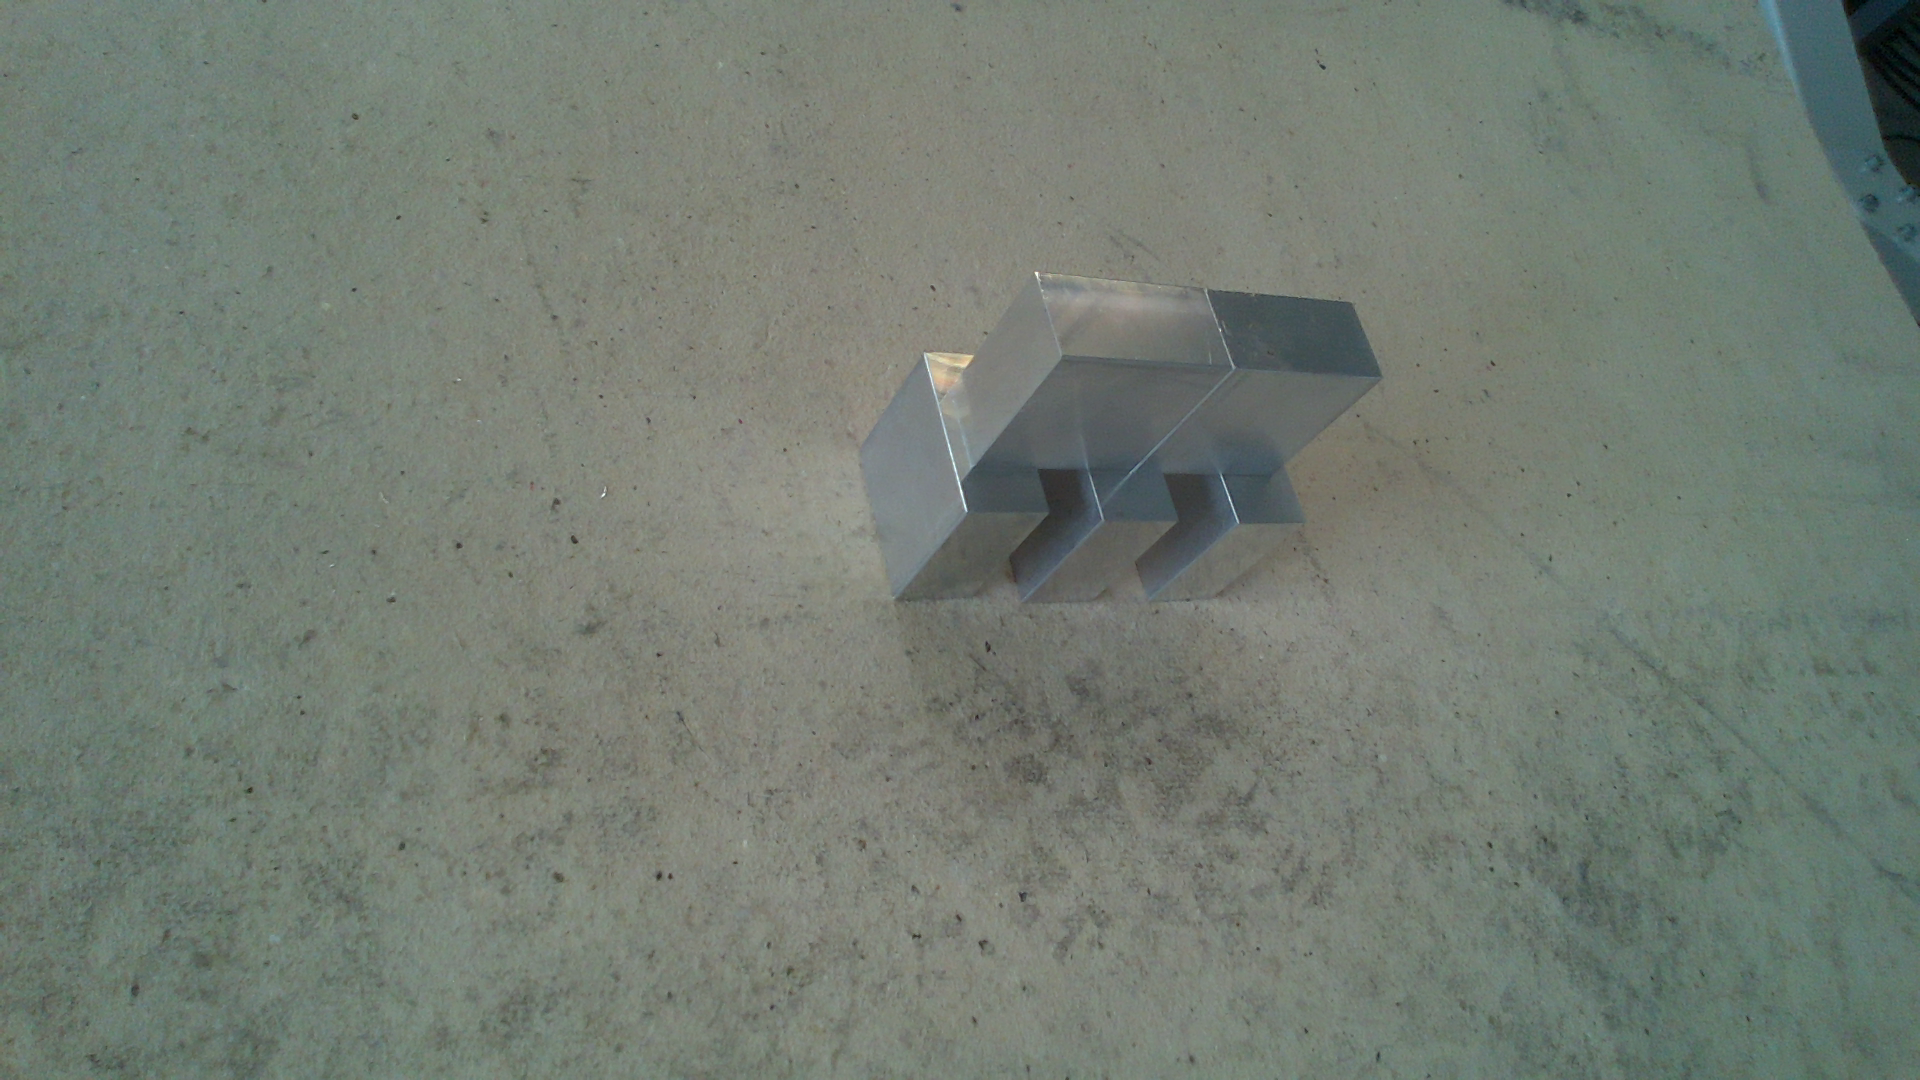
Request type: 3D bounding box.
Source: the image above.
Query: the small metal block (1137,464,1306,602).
[{"bbox_3d":[0.073,-0.015,0.423,0.025,0.050,0.050,-2,62,-28],"label":"small metal block"}]

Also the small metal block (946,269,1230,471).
[{"bbox_3d":[0.032,-0.042,0.353,0.050,0.050,0.025,0,62,-28],"label":"small metal block"}]

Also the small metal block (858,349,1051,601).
[{"bbox_3d":[-0.003,-0.017,0.382,0.025,0.050,0.050,-1,62,-28],"label":"small metal block"}]

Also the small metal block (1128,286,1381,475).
[{"bbox_3d":[0.076,-0.042,0.376,0.050,0.050,0.025,0,62,-28],"label":"small metal block"}]

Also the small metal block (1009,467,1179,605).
[{"bbox_3d":[0.033,-0.015,0.402,0.025,0.050,0.050,-2,62,-28],"label":"small metal block"}]
